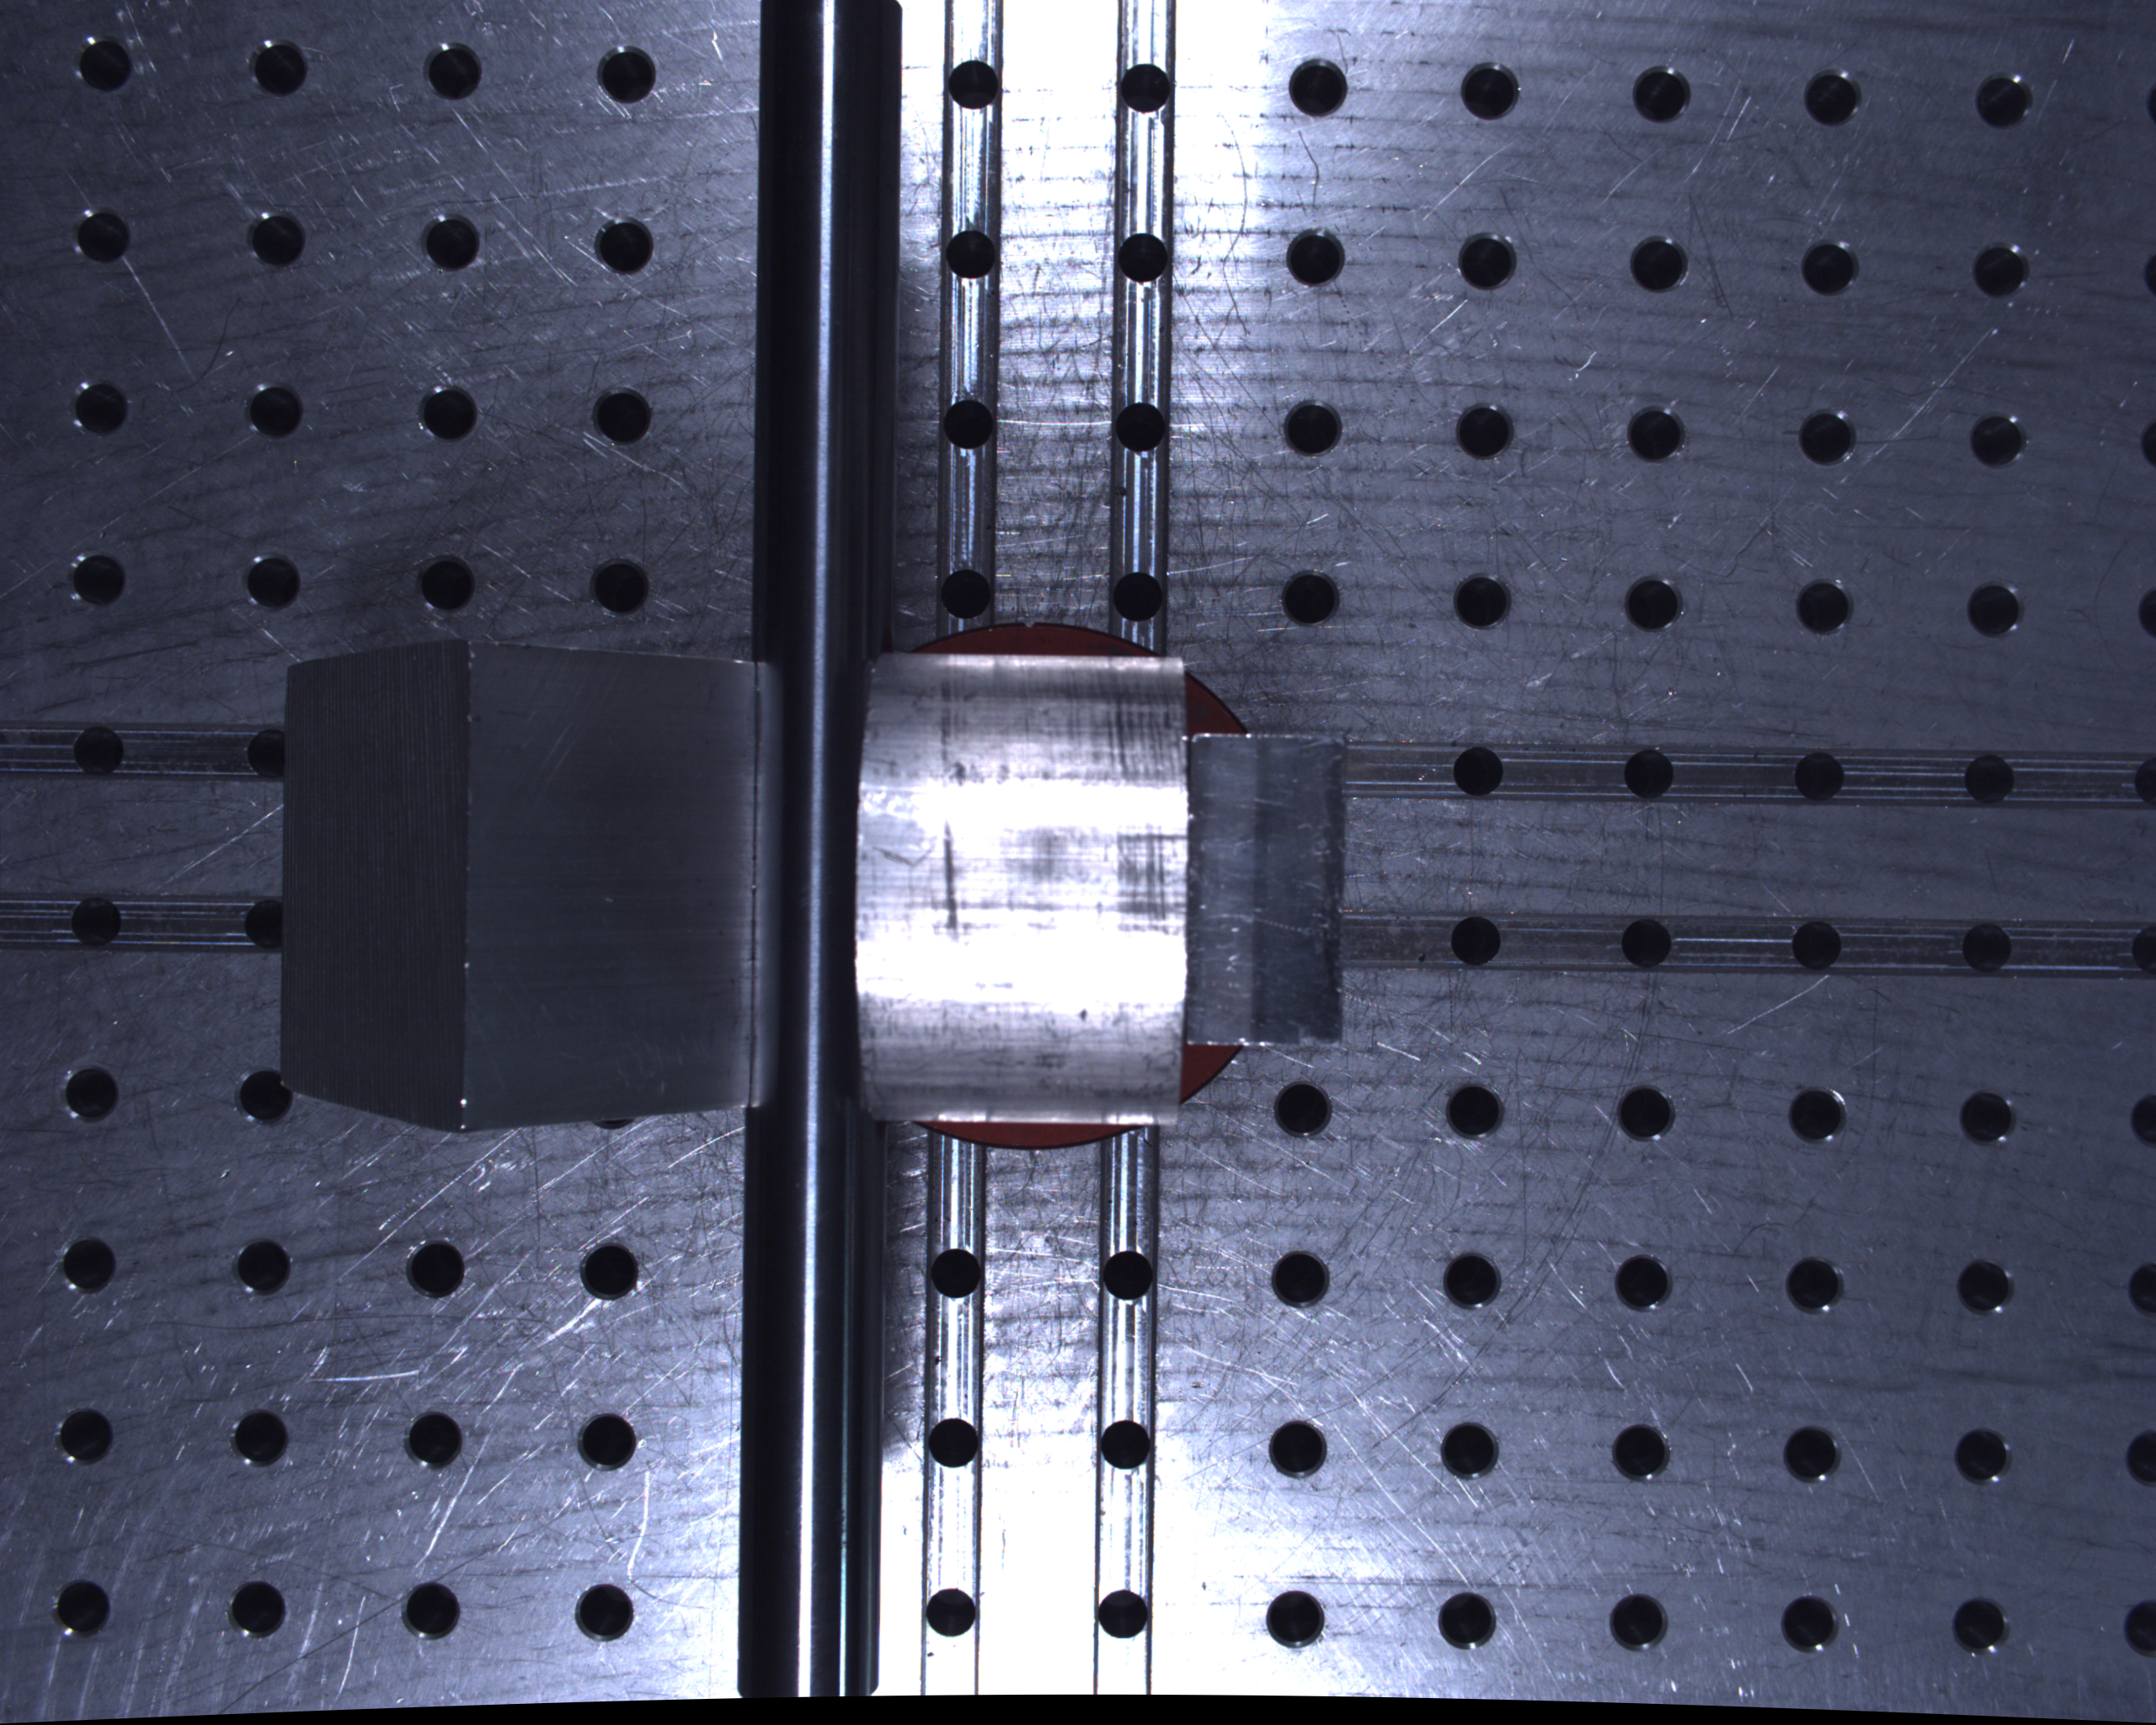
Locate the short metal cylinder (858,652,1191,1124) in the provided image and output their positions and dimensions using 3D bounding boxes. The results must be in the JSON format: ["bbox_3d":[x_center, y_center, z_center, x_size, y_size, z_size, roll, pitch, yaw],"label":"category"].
[{"bbox_3d":[-0.008,0.004,0.356,0.050,0.080,0.079,1,90,0],"label":"short metal cylinder"}]

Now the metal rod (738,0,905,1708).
[{"bbox_3d":[-0.046,-0.004,0.371,0.025,0.025,0.298,1,90,-1],"label":"metal rod"}]

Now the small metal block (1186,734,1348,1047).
[{"bbox_3d":[0.030,0.004,0.359,0.025,0.050,0.050,1,90,0],"label":"small metal block"}]

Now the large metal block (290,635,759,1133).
[{"bbox_3d":[-0.102,0.003,0.379,0.050,0.080,0.079,1,90,-42],"label":"large metal block"}]

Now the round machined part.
[{"bbox_3d":[-0.008,0.004,0.404,0.099,0.042,0.097,0,90,-1],"label":"round machined part"}]
